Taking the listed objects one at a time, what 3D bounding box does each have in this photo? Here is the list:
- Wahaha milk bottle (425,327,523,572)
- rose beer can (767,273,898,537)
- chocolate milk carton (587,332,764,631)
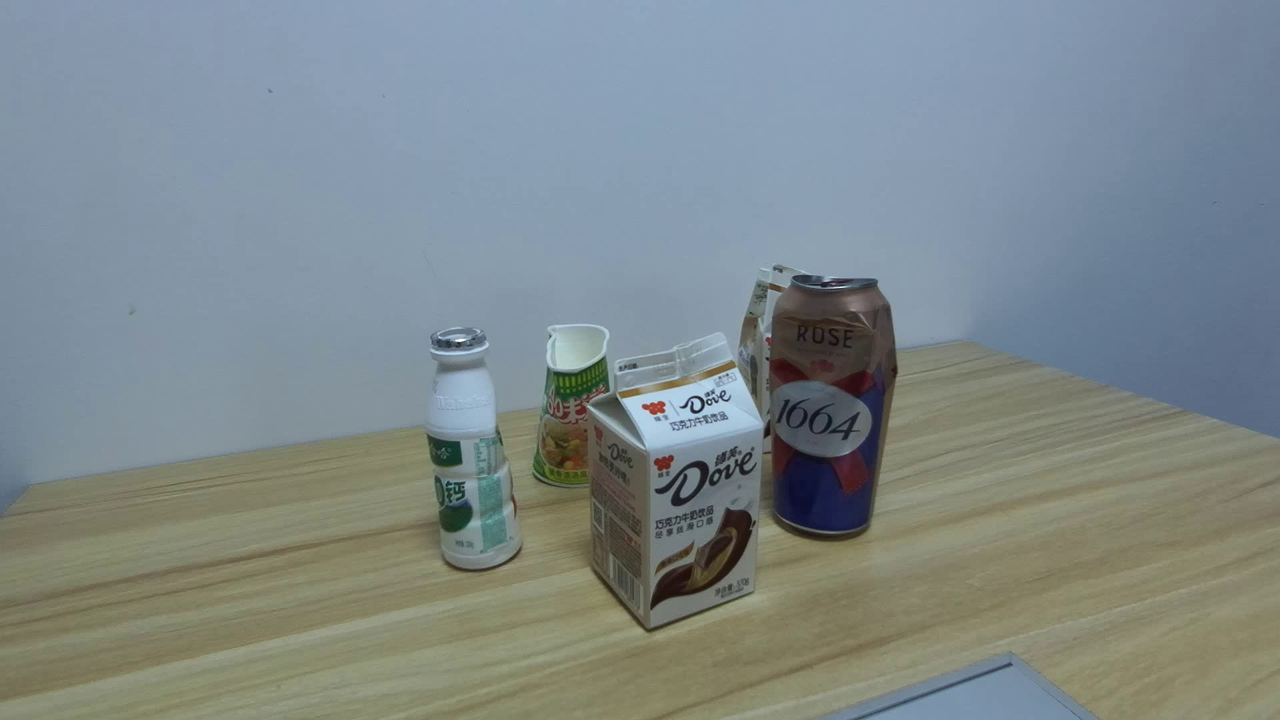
[{"bbox_3d":[-0.103,0.055,0.436,0.056,0.147,0.056,-1,15,1],"label":"Wahaha milk bottle"},{"bbox_3d":[0.124,0.029,0.461,0.065,0.167,0.075,-15,20,-43],"label":"rose beer can"},{"bbox_3d":[0.018,0.060,0.397,0.076,0.148,0.073,-9,21,-27],"label":"chocolate milk carton"}]
